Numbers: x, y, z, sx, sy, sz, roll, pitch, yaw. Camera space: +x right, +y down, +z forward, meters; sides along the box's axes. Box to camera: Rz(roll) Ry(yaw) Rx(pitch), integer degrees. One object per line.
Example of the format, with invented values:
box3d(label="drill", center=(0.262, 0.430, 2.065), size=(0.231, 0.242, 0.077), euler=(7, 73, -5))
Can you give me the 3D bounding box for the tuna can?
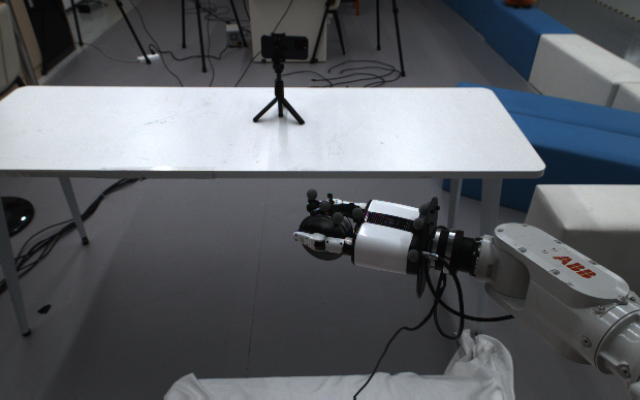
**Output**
box3d(label="tuna can", center=(0.012, 0.052, 0.794), size=(0.085, 0.085, 0.034), euler=(16, 29, 19))
